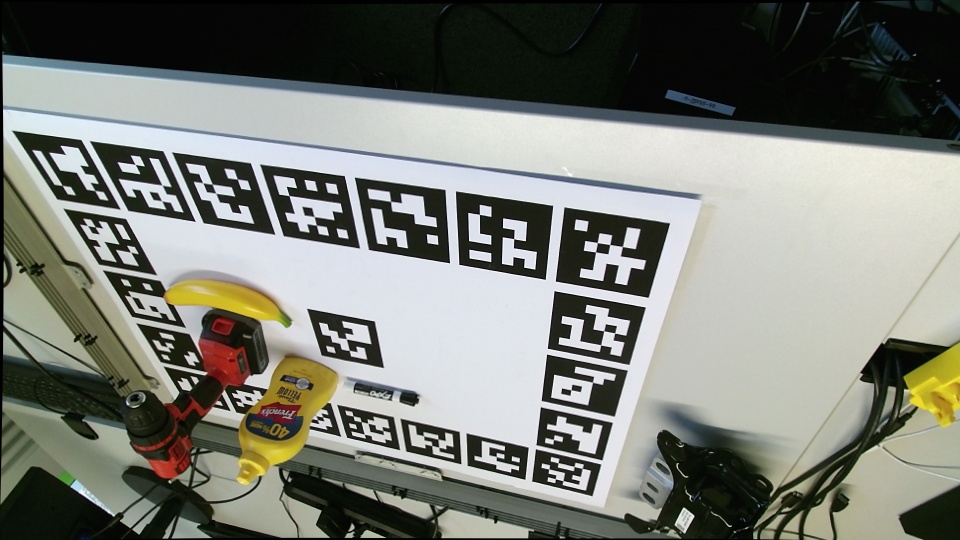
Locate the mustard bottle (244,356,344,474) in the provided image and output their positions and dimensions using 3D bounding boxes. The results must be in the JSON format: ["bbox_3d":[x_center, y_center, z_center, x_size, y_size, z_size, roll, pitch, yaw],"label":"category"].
[{"bbox_3d":[-0.288,0.218,0.801,0.096,0.191,0.058,18,130,5],"label":"mustard bottle"}]

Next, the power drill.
[{"bbox_3d":[-0.395,0.161,0.768,0.057,0.186,0.184,21,133,4],"label":"power drill"}]

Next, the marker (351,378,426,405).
[{"bbox_3d":[-0.144,0.193,0.849,0.121,0.019,0.019,10,128,10],"label":"marker"}]

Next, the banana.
[{"bbox_3d":[-0.361,0.037,0.785,0.198,0.039,0.074,14,128,4],"label":"banana"}]
